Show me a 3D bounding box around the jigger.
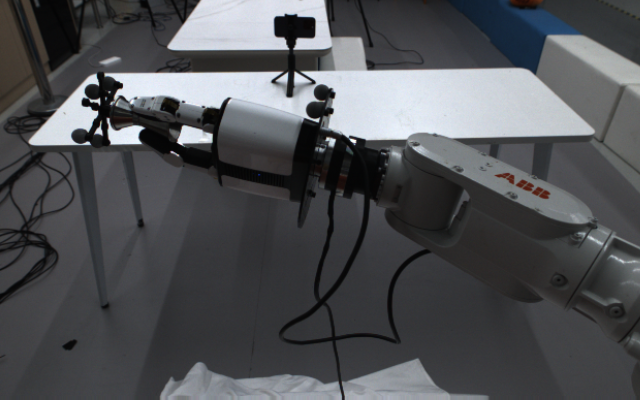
[{"bbox_3d":[-0.191,-0.095,0.553,0.071,0.043,0.043,11,35,1],"label":"jigger"}]
